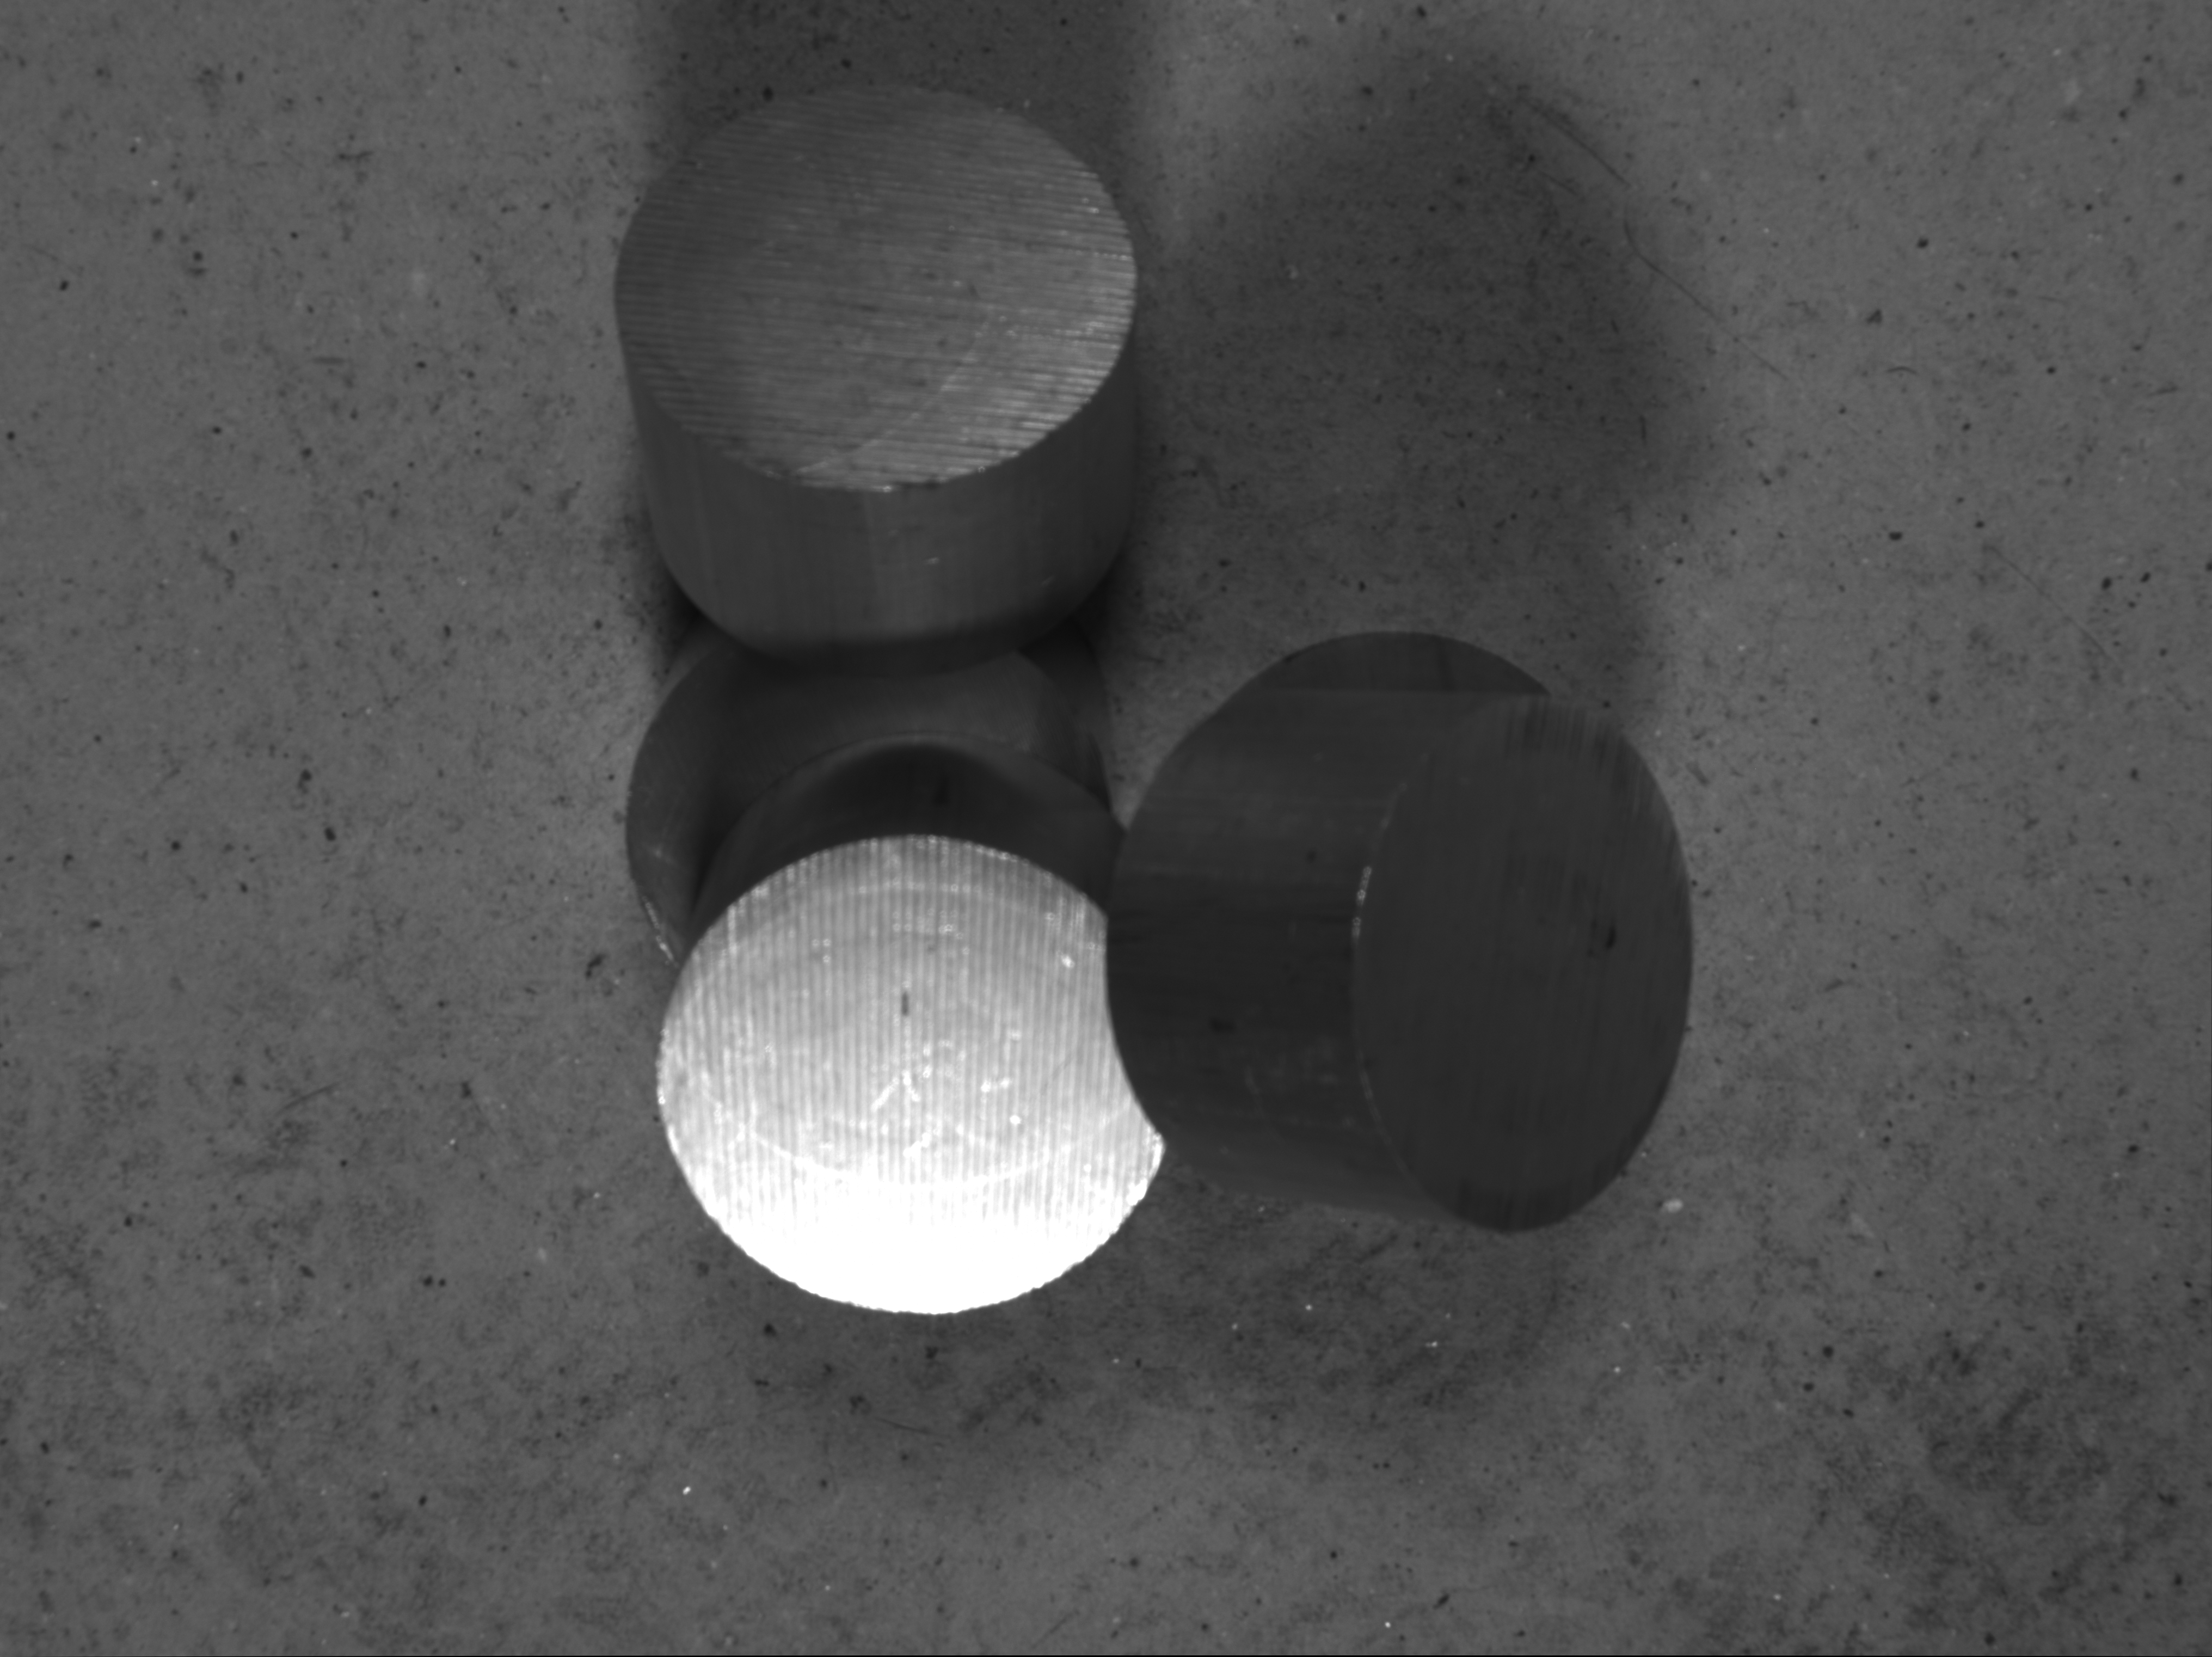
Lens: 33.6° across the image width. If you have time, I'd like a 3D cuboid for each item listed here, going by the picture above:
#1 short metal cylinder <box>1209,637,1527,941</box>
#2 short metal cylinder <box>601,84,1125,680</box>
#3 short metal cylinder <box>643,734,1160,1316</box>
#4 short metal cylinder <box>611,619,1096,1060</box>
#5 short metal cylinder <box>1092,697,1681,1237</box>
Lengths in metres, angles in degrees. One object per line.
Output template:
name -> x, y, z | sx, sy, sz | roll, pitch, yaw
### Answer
short metal cylinder -> 0.048, 0.012, 0.634 | 0.080, 0.050, 0.080 | 0, 110, -1
short metal cylinder -> -0.037, -0.071, 0.581 | 0.080, 0.080, 0.050 | 0, 149, -1
short metal cylinder -> -0.031, 0.031, 0.587 | 0.080, 0.050, 0.080 | 0, 110, -1
short metal cylinder -> -0.042, -0.007, 0.627 | 0.080, 0.050, 0.080 | 0, 110, -1
short metal cylinder -> 0.044, 0.020, 0.561 | 0.050, 0.080, 0.080 | 3, 118, 45
